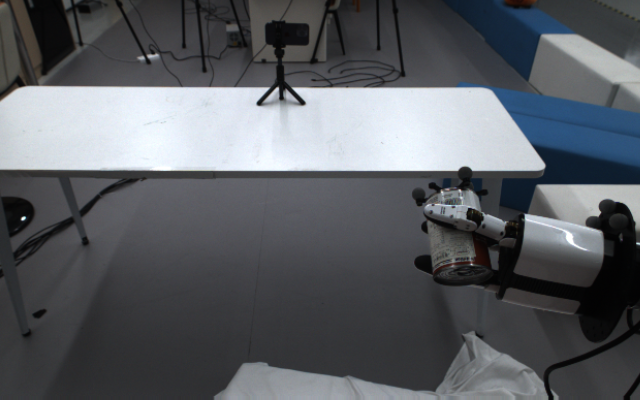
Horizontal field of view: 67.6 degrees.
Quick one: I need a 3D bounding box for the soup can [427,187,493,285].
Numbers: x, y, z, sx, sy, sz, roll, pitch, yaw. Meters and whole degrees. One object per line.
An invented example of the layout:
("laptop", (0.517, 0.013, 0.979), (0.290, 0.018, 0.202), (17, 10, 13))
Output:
("soup can", (0.167, 0.044, 0.584), (0.067, 0.067, 0.101), (0, 62, -2))
